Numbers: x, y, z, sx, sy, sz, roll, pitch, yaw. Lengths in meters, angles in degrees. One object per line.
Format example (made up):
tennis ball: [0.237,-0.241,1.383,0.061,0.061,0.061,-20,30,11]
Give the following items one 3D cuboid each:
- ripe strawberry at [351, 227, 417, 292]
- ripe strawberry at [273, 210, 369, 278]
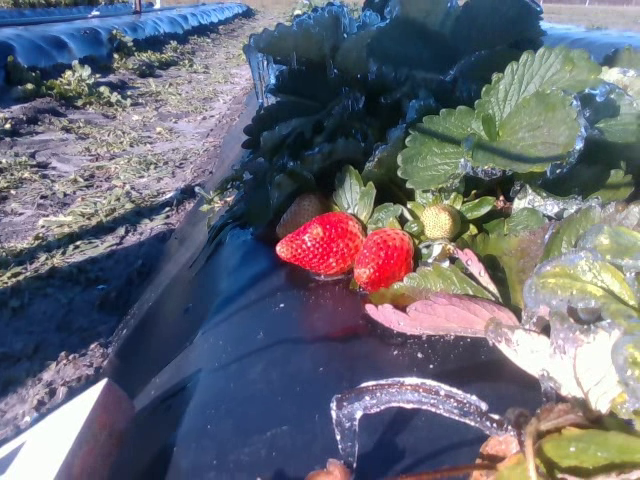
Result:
ripe strawberry: [0.030,0.011,0.301,0.036,0.030,0.041,-24,18,38]
ripe strawberry: [-0.003,0.004,0.323,0.052,0.040,0.037,-6,1,-31]
